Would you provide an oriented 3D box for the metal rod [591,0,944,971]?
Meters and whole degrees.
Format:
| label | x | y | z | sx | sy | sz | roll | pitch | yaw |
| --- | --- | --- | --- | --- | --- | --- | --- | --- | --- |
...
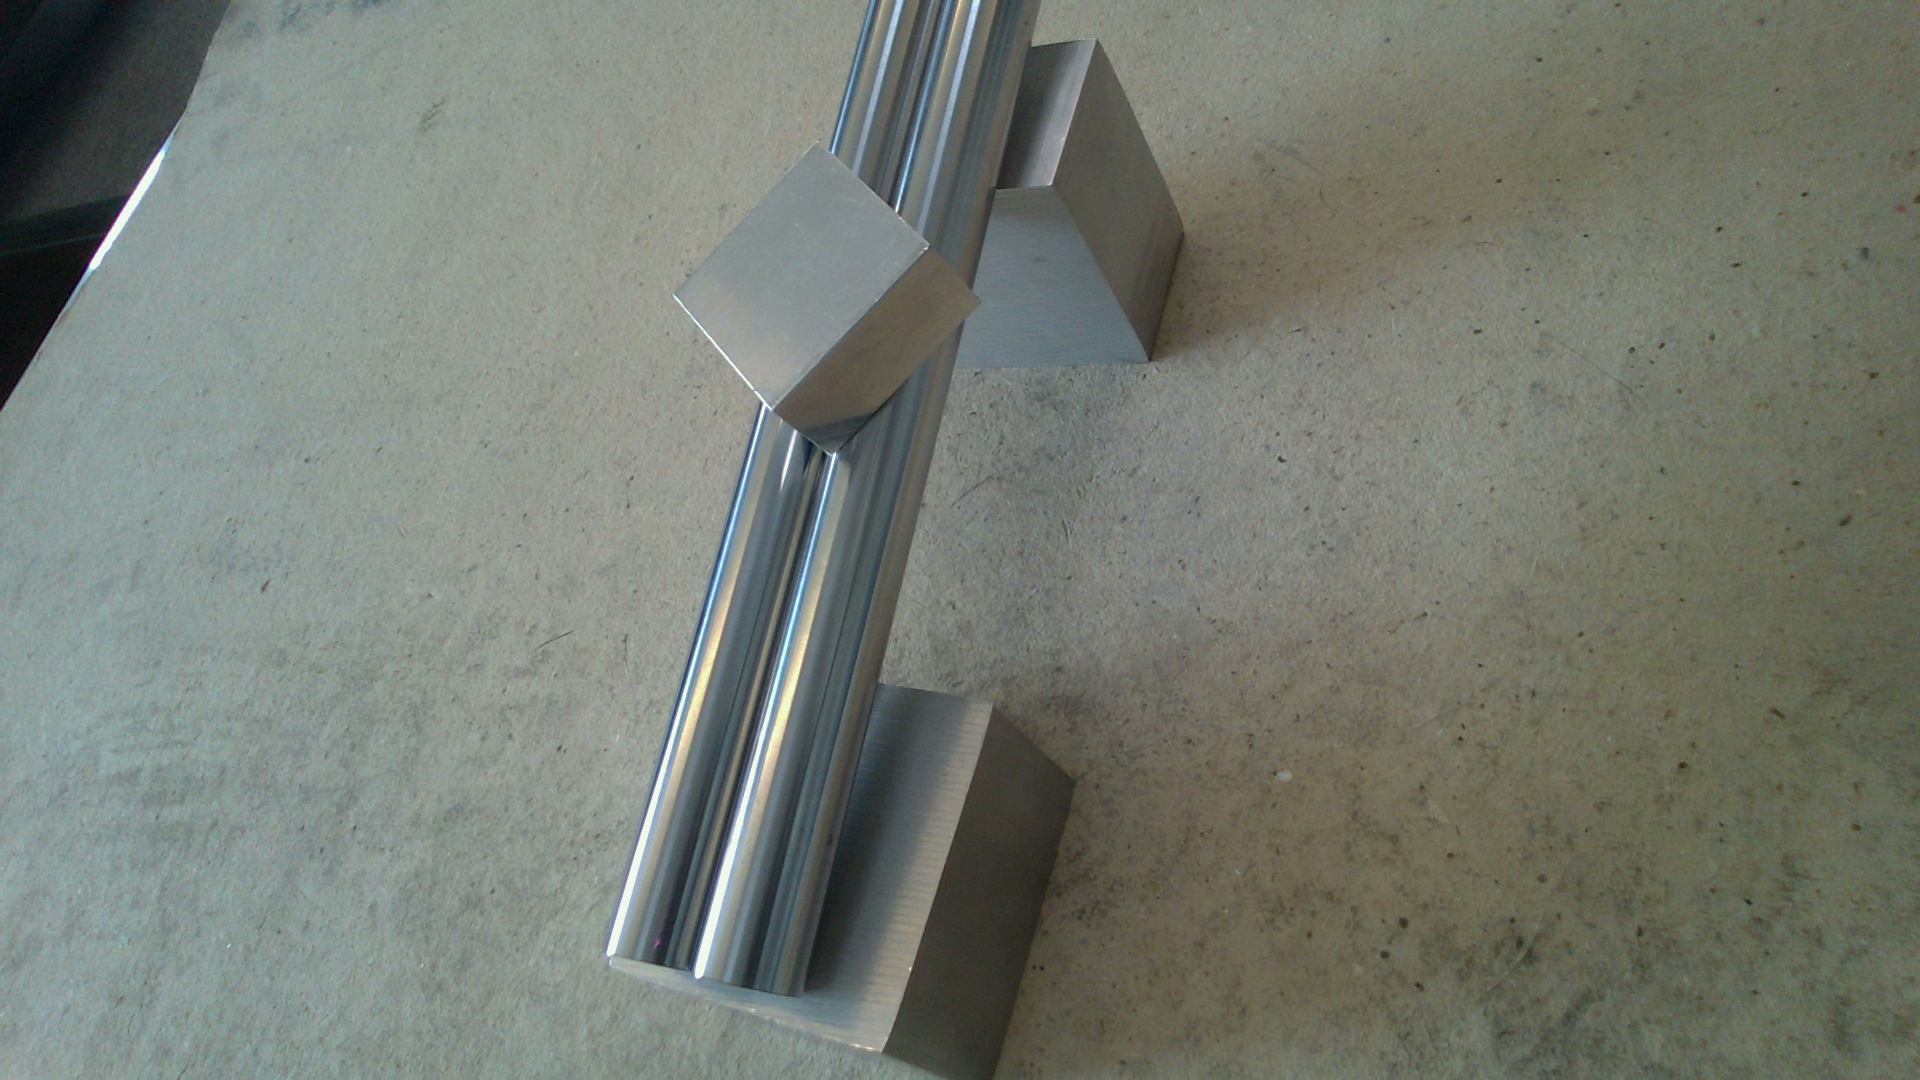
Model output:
| label | x | y | z | sx | sy | sz | roll | pitch | yaw |
| --- | --- | --- | --- | --- | --- | --- | --- | --- | --- |
| metal rod | -0.036 | -0.046 | 0.348 | 0.025 | 0.025 | 0.300 | 3 | 70 | 30 |

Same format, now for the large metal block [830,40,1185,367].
| label | x | y | z | sx | sy | sz | roll | pitch | yaw |
| --- | --- | --- | --- | --- | --- | --- | --- | --- | --- |
| large metal block | 0.012 | -0.096 | 0.411 | 0.080 | 0.080 | 0.050 | 3 | 63 | 30 |

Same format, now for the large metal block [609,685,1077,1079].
| label | x | y | z | sx | sy | sz | roll | pitch | yaw |
| --- | --- | --- | --- | --- | --- | --- | --- | --- | --- |
| large metal block | -0.027 | 0.081 | 0.341 | 0.080 | 0.050 | 0.080 | 5 | 64 | 31 |

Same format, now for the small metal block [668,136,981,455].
| label | x | y | z | sx | sy | sz | roll | pitch | yaw |
| --- | --- | --- | --- | --- | --- | --- | --- | --- | --- |
| small metal block | -0.032 | -0.057 | 0.320 | 0.050 | 0.025 | 0.050 | -45 | 56 | 4 |

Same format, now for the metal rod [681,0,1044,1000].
| label | x | y | z | sx | sy | sz | roll | pitch | yaw |
| --- | --- | --- | --- | --- | --- | --- | --- | --- | --- |
| metal rod | -0.014 | -0.045 | 0.335 | 0.025 | 0.025 | 0.300 | 3 | 70 | 30 |
